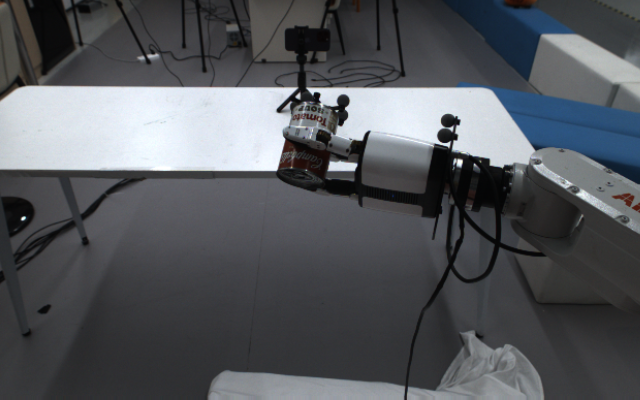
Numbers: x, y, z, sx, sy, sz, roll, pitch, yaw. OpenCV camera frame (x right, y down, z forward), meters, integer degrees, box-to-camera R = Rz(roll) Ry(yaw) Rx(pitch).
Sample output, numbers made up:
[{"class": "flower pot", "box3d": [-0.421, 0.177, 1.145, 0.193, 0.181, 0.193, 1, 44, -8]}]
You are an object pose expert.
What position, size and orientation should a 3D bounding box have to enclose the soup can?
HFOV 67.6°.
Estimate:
[{"class": "soup can", "box3d": [-0.015, -0.075, 0.662, 0.067, 0.067, 0.101, 9, 72, 10]}]
